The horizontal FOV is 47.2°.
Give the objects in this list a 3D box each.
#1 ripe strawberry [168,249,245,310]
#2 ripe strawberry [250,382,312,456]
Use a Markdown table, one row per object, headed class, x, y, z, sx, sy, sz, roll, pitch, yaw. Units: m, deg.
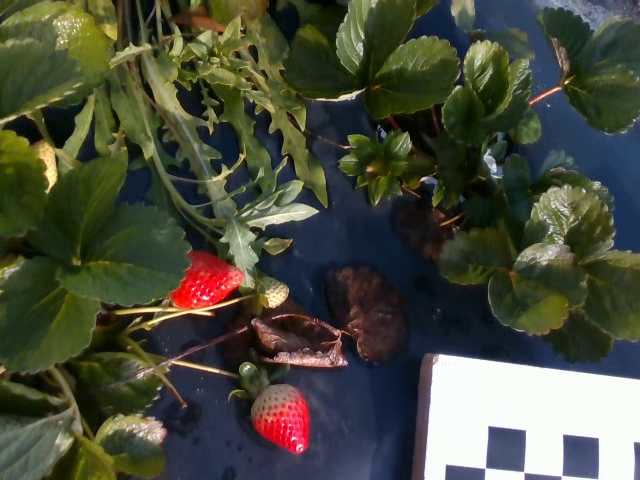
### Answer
| class | x | y | z | sx | sy | sz | roll | pitch | yaw |
| --- | --- | --- | --- | --- | --- | --- | --- | --- | --- |
| ripe strawberry | -0.063 | 0.019 | 0.384 | 0.048 | 0.040 | 0.031 | -12 | -10 | 26 |
| ripe strawberry | -0.021 | 0.099 | 0.383 | 0.035 | 0.043 | 0.030 | -29 | -6 | -18 |
